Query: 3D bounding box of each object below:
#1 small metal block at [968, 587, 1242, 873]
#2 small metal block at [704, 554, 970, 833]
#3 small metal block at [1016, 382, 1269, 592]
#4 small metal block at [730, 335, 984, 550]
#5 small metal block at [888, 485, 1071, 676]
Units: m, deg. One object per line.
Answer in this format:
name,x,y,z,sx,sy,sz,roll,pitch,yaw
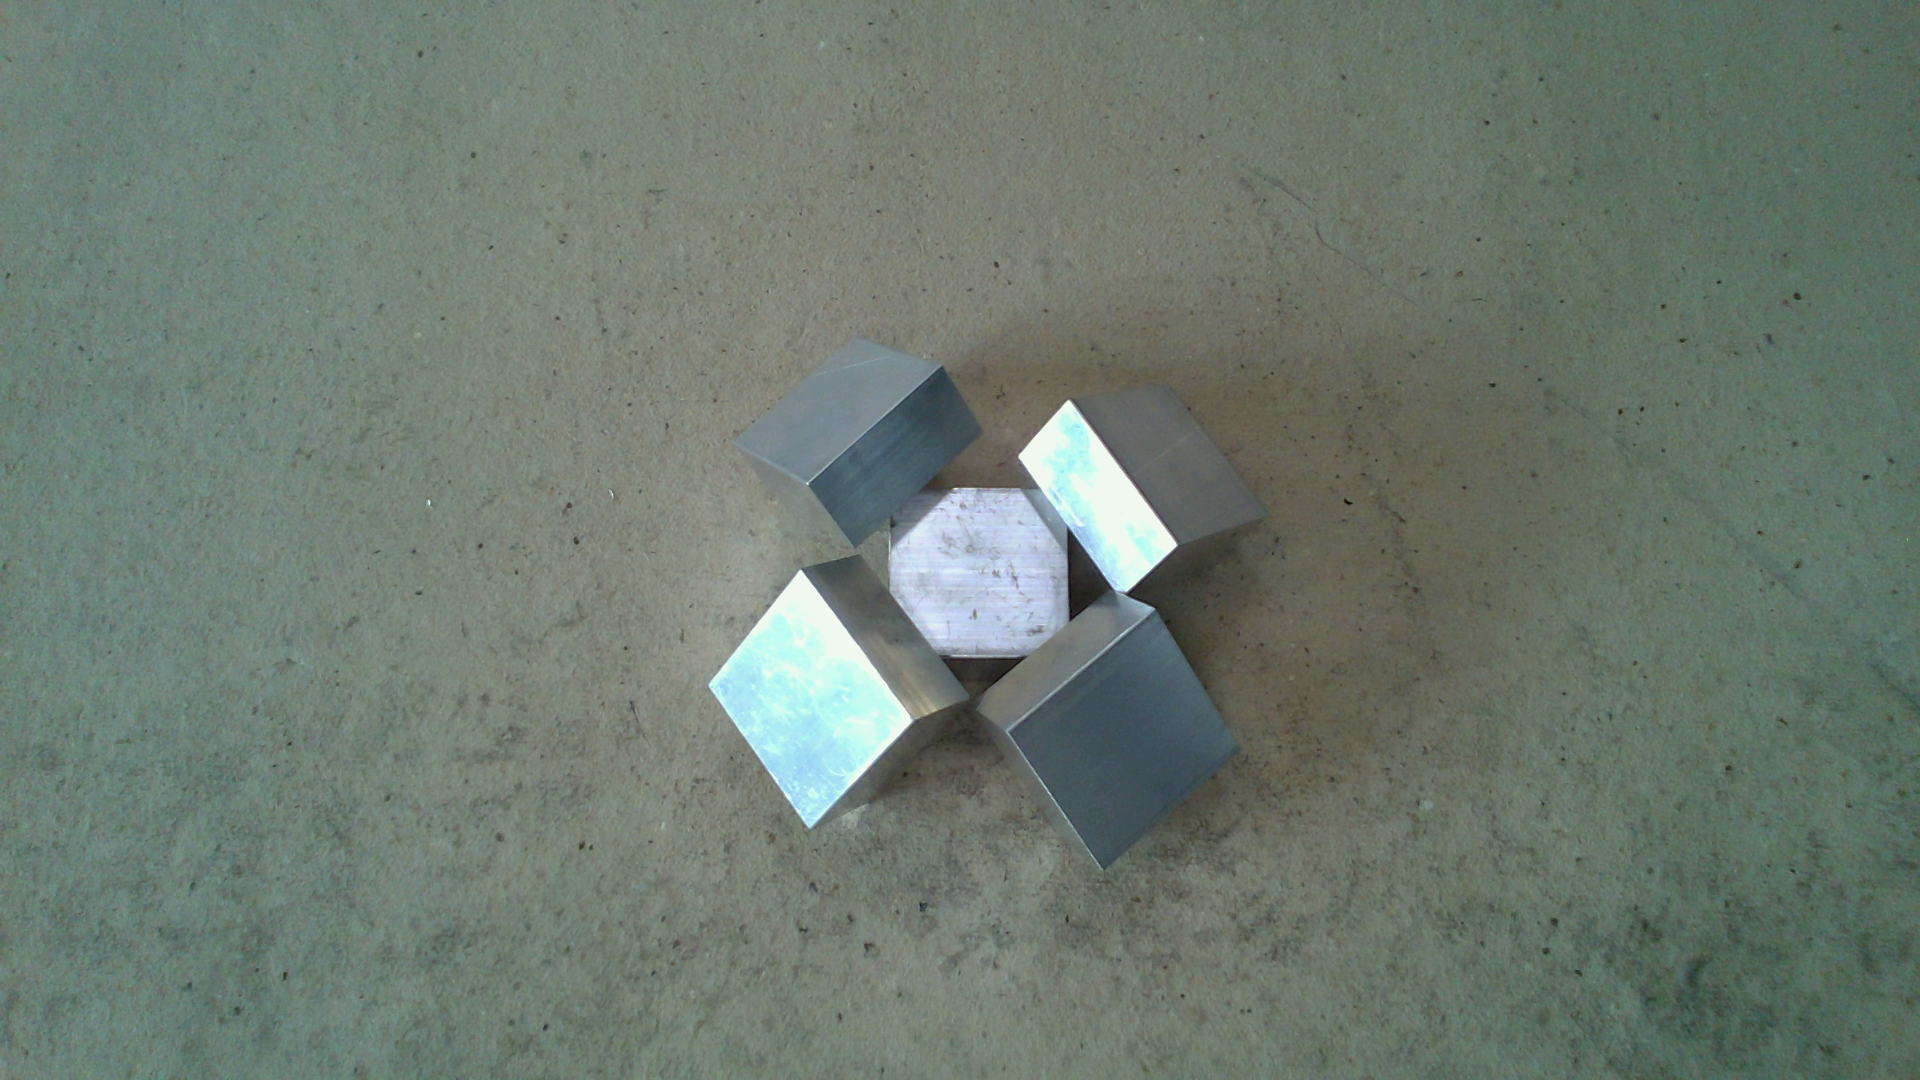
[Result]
small metal block,0.039,0.049,0.364,0.050,0.025,0.050,-38,112,-13
small metal block,-0.034,0.040,0.366,0.050,0.025,0.050,51,121,16
small metal block,0.052,-0.015,0.388,0.050,0.025,0.050,-15,65,-49
small metal block,-0.030,-0.029,0.392,0.050,0.025,0.050,-43,34,-14
small metal block,0.005,0.012,0.390,0.050,0.025,0.050,0,70,-1
